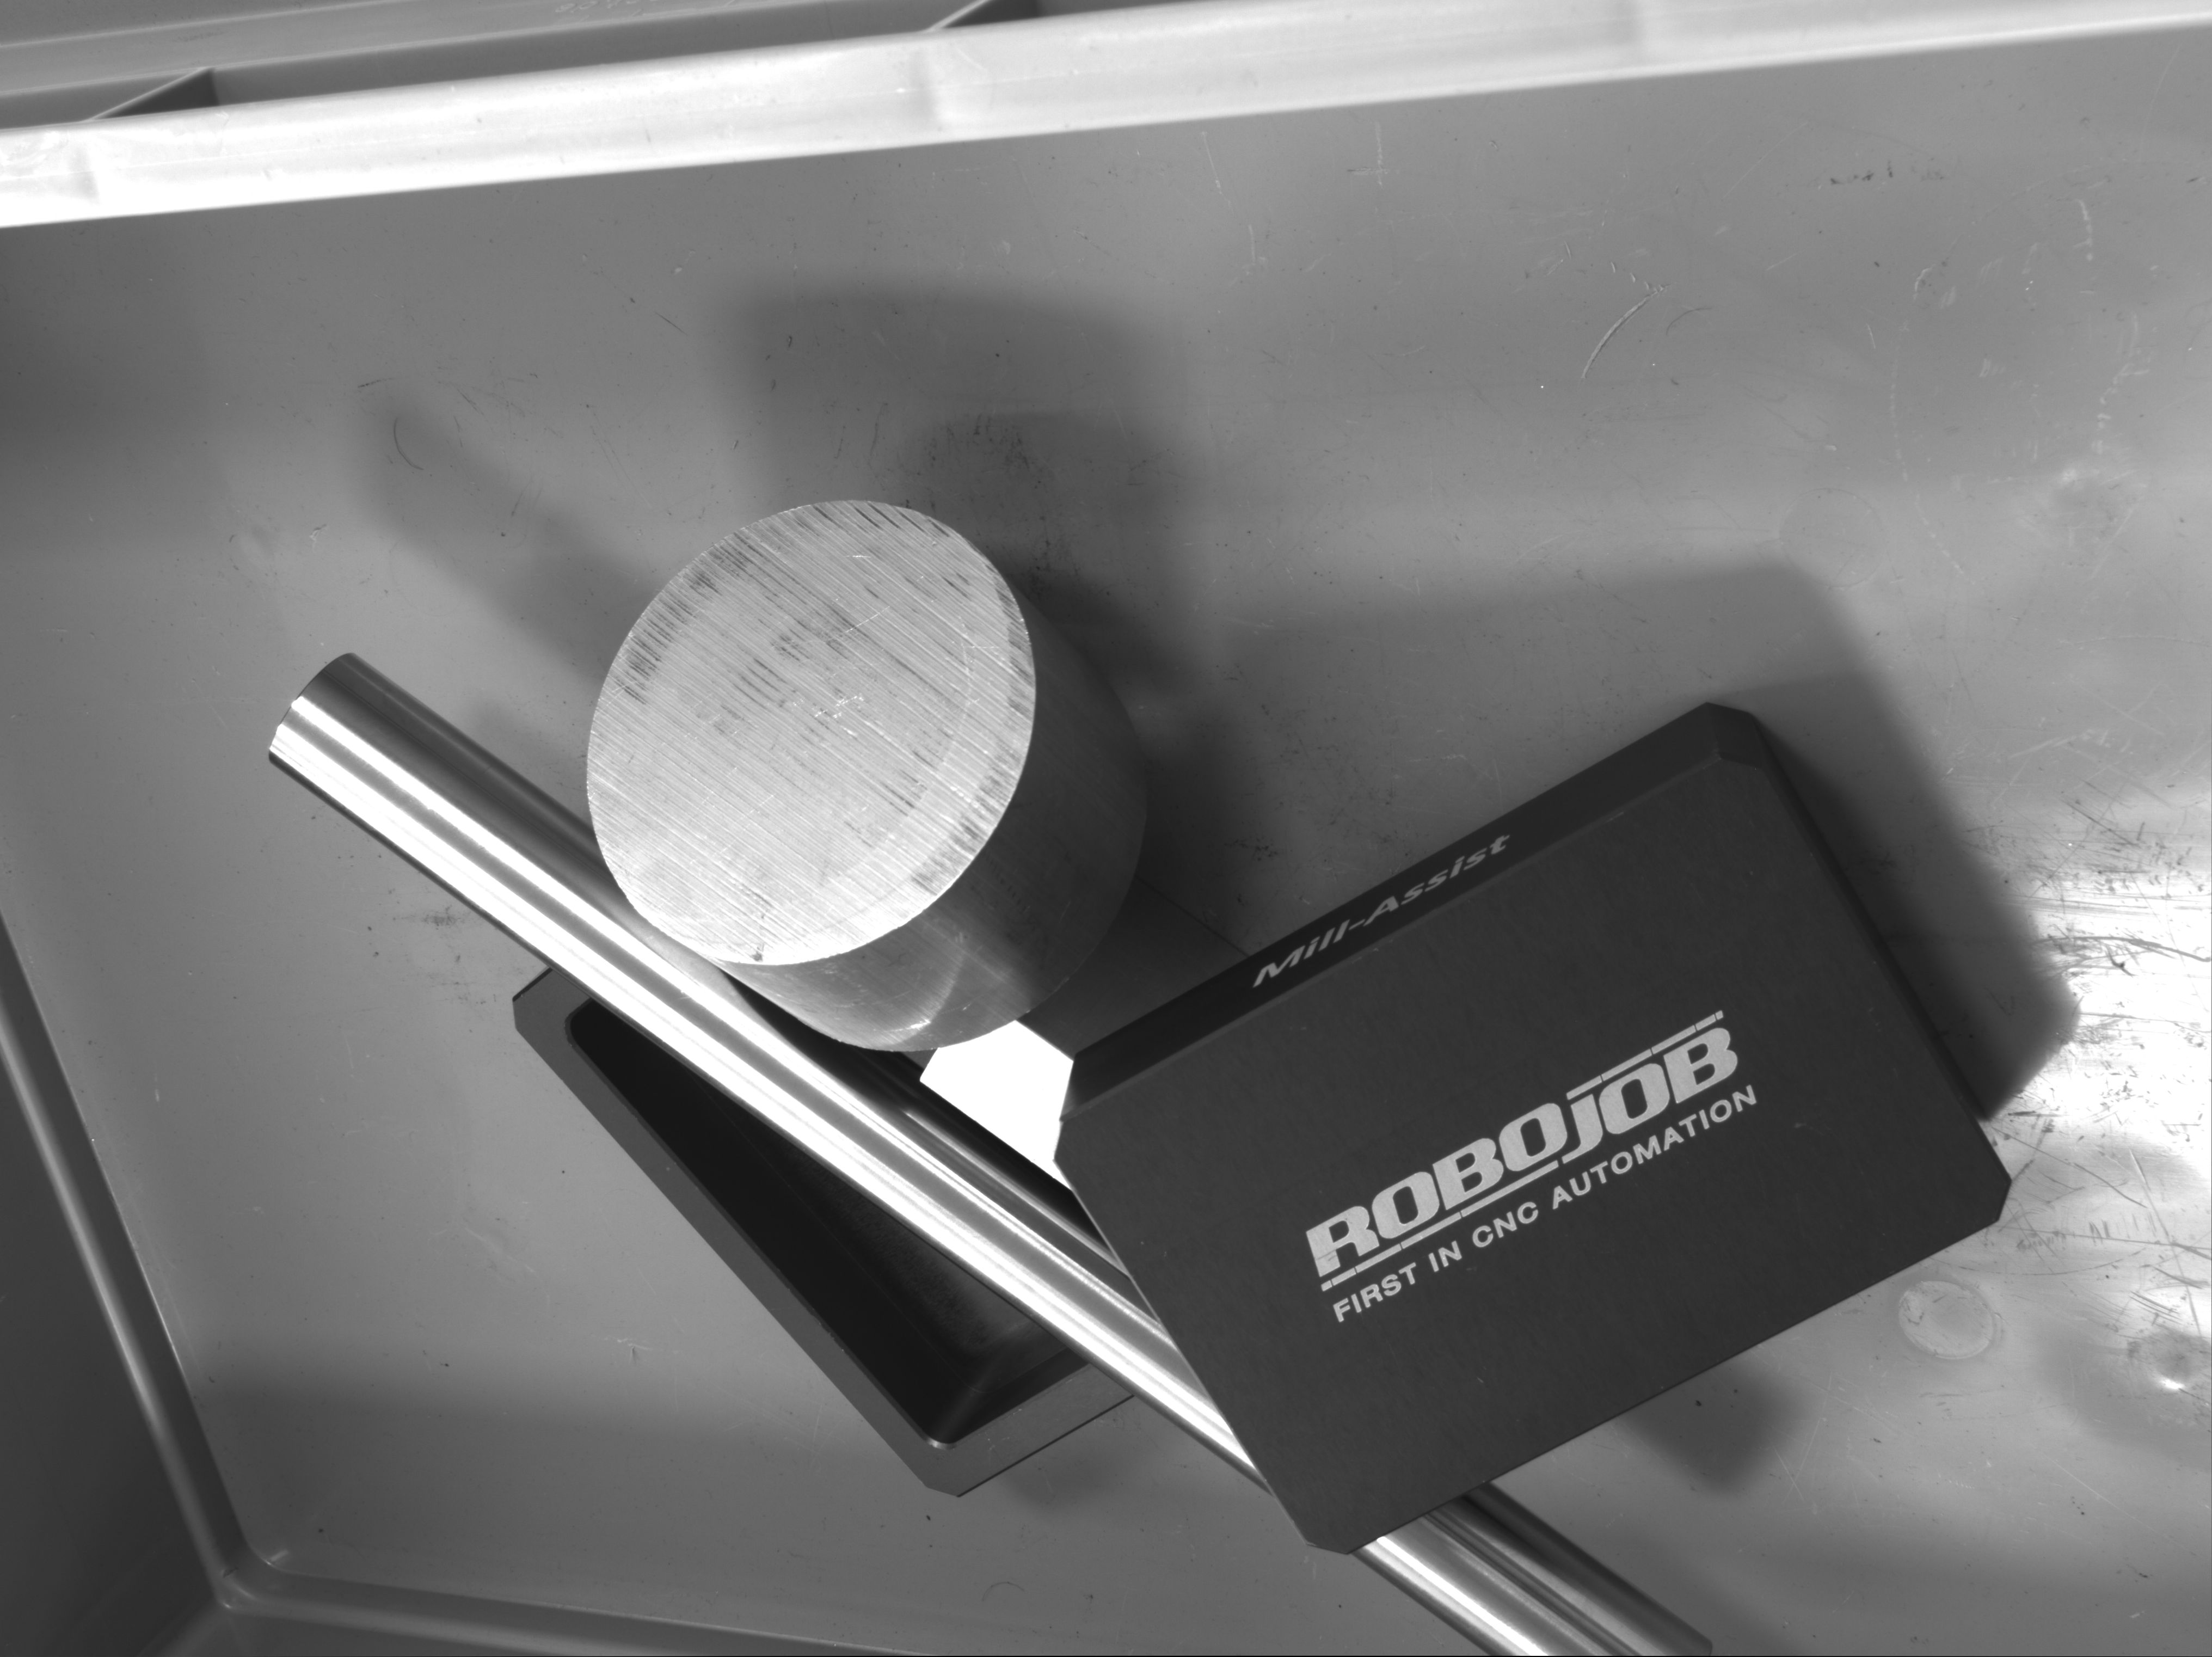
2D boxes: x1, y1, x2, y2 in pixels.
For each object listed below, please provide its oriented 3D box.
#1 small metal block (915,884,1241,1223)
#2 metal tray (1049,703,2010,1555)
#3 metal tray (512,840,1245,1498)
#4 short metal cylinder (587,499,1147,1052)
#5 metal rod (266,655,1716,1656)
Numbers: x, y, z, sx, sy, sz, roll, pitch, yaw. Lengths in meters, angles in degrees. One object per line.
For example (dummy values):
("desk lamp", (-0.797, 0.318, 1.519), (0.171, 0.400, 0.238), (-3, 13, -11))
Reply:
("small metal block", (0.003, 0.039, 0.646), (0.050, 0.050, 0.025), (35, 129, 5))
("metal tray", (0.068, 0.050, 0.599), (0.130, 0.030, 0.090), (-30, 103, 13))
("metal tray", (-0.040, 0.056, 0.693), (0.130, 0.030, 0.090), (49, 129, -6))
("short metal cylinder", (-0.039, -0.008, 0.614), (0.080, 0.080, 0.050), (8, 164, 24))
("metal rod", (-0.022, 0.065, 0.655), (0.300, 0.025, 0.025), (35, 129, 4))
